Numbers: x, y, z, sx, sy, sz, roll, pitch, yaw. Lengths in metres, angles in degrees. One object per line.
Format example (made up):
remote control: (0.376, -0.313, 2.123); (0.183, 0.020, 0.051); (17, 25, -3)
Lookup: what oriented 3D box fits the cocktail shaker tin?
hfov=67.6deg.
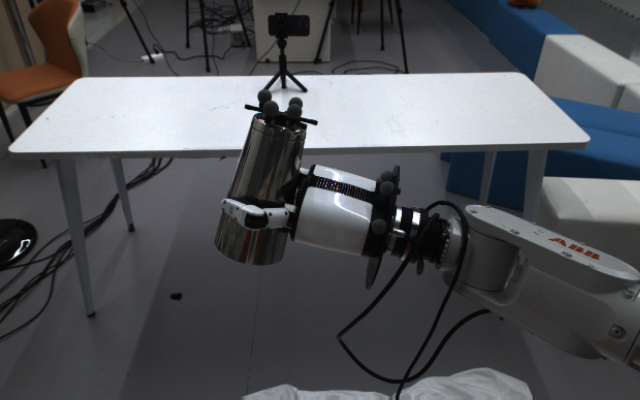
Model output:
cocktail shaker tin: (-0.068, -0.016, 0.601); (0.093, 0.170, 0.093); (15, 20, -5)
